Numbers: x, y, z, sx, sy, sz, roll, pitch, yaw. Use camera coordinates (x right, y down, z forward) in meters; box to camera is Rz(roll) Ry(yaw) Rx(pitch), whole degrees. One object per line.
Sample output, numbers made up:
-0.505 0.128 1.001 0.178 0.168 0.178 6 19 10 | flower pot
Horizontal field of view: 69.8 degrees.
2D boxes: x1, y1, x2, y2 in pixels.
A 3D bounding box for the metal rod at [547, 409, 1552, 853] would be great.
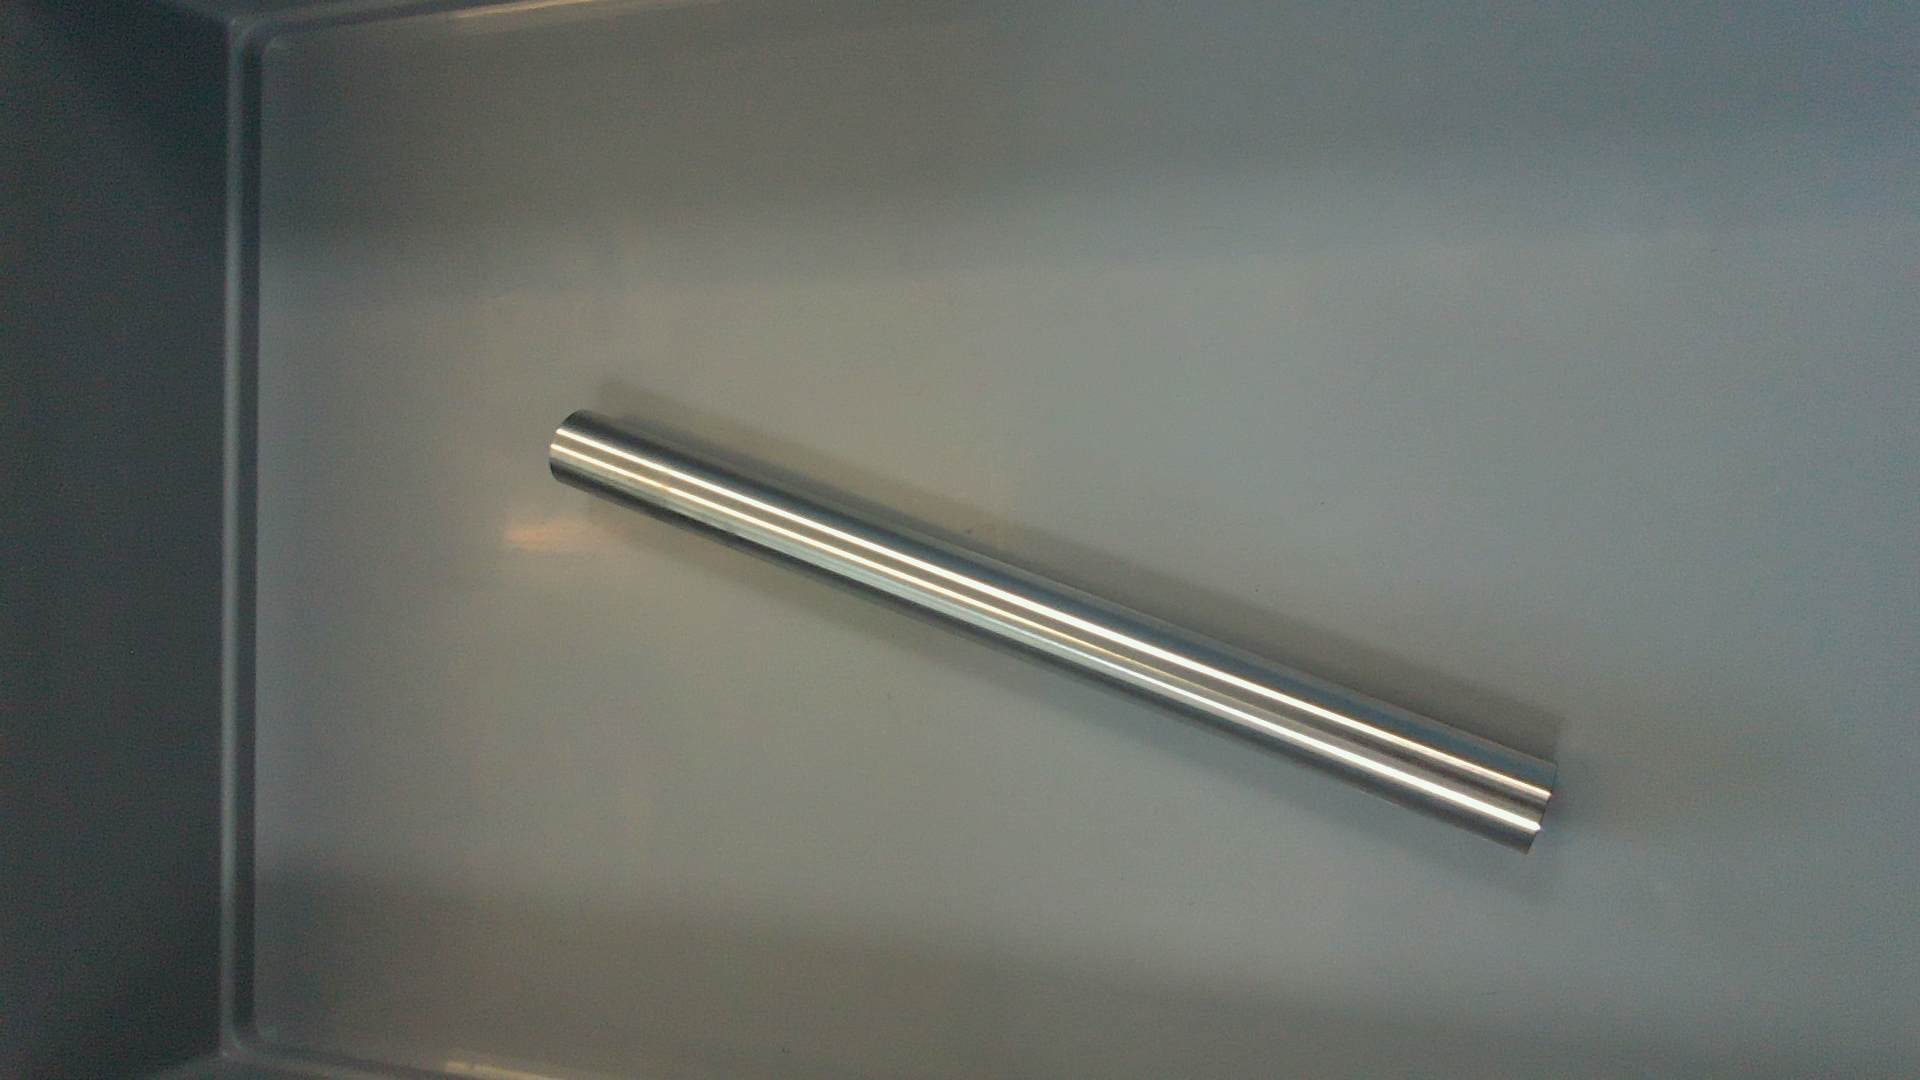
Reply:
0.010 0.018 0.391 0.299 0.025 0.025 20 97 19 | metal rod
